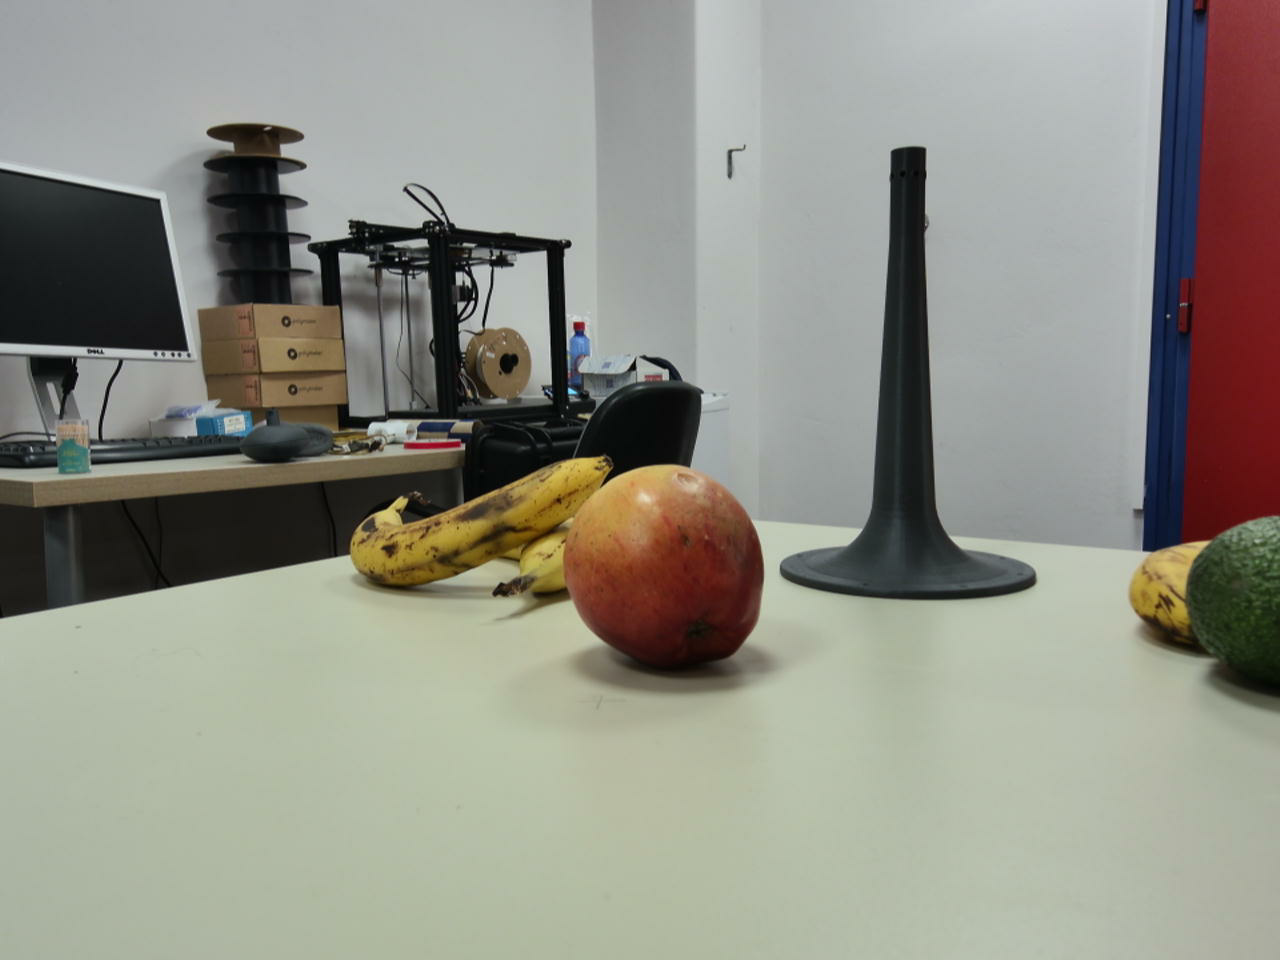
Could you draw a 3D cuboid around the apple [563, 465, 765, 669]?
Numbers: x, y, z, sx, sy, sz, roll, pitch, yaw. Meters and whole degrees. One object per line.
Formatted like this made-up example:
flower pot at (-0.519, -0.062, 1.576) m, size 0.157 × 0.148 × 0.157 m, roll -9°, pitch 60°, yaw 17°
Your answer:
apple at (0.011, 0.037, 0.440) m, size 0.086 × 0.084 × 0.093 m, roll 0°, pitch 3°, yaw 1°
